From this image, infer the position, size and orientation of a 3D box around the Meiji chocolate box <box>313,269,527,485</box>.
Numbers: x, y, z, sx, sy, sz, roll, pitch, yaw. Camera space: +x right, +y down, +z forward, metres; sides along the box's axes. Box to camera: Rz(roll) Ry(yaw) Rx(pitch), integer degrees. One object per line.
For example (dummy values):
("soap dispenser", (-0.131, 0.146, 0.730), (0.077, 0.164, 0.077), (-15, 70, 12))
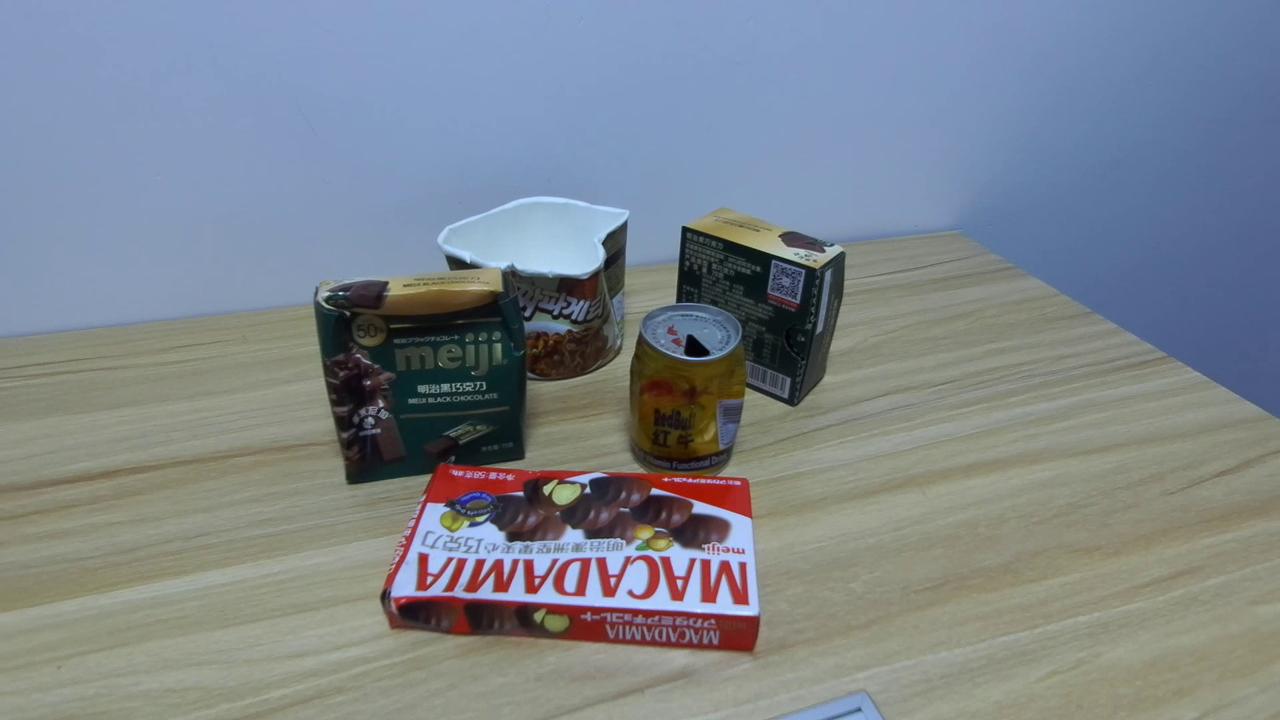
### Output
("Meiji chocolate box", (-0.128, 0.007, 0.428), (0.117, 0.117, 0.051), (-7, 27, -14))

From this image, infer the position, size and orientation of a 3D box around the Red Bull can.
("Red Bull can", (0.027, 0.019, 0.427), (0.072, 0.092, 0.072), (2, 33, -1))

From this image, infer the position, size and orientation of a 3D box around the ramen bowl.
("ramen bowl", (-0.078, -0.055, 0.531), (0.134, 0.097, 0.113), (5, 35, 3))

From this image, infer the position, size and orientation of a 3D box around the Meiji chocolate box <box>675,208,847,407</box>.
("Meiji chocolate box", (0.085, -0.040, 0.506), (0.112, 0.111, 0.058), (24, 38, 31))

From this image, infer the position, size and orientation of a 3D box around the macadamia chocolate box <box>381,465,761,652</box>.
("macadamia chocolate box", (-0.031, 0.098, 0.372), (0.183, 0.028, 0.105), (2, 32, 2))
